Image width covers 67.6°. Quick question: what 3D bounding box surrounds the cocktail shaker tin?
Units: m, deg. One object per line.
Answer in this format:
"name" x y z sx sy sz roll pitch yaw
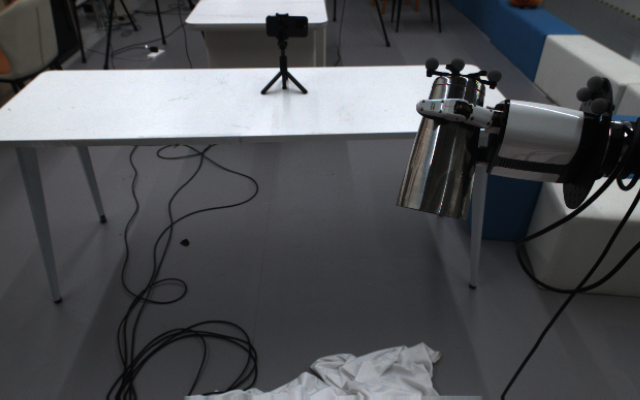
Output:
"cocktail shaker tin" 0.165 -0.069 0.624 0.093 0.170 0.093 13 1 0
